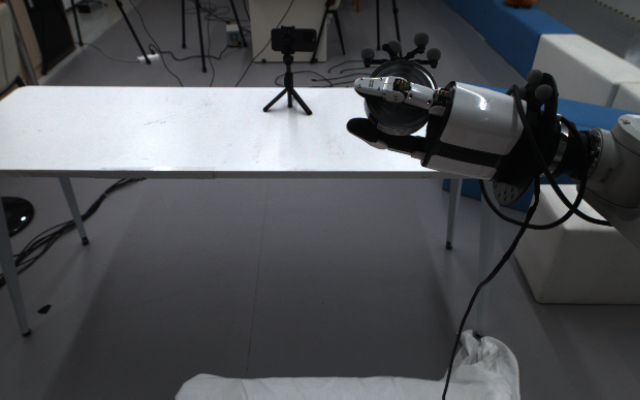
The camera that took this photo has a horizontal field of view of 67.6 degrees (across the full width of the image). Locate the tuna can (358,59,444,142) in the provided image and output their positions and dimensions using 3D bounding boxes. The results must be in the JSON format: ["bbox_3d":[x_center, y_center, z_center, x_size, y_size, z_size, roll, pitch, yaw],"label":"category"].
[{"bbox_3d":[0.096,-0.122,0.583,0.085,0.034,0.085,-1,78,4],"label":"tuna can"}]
